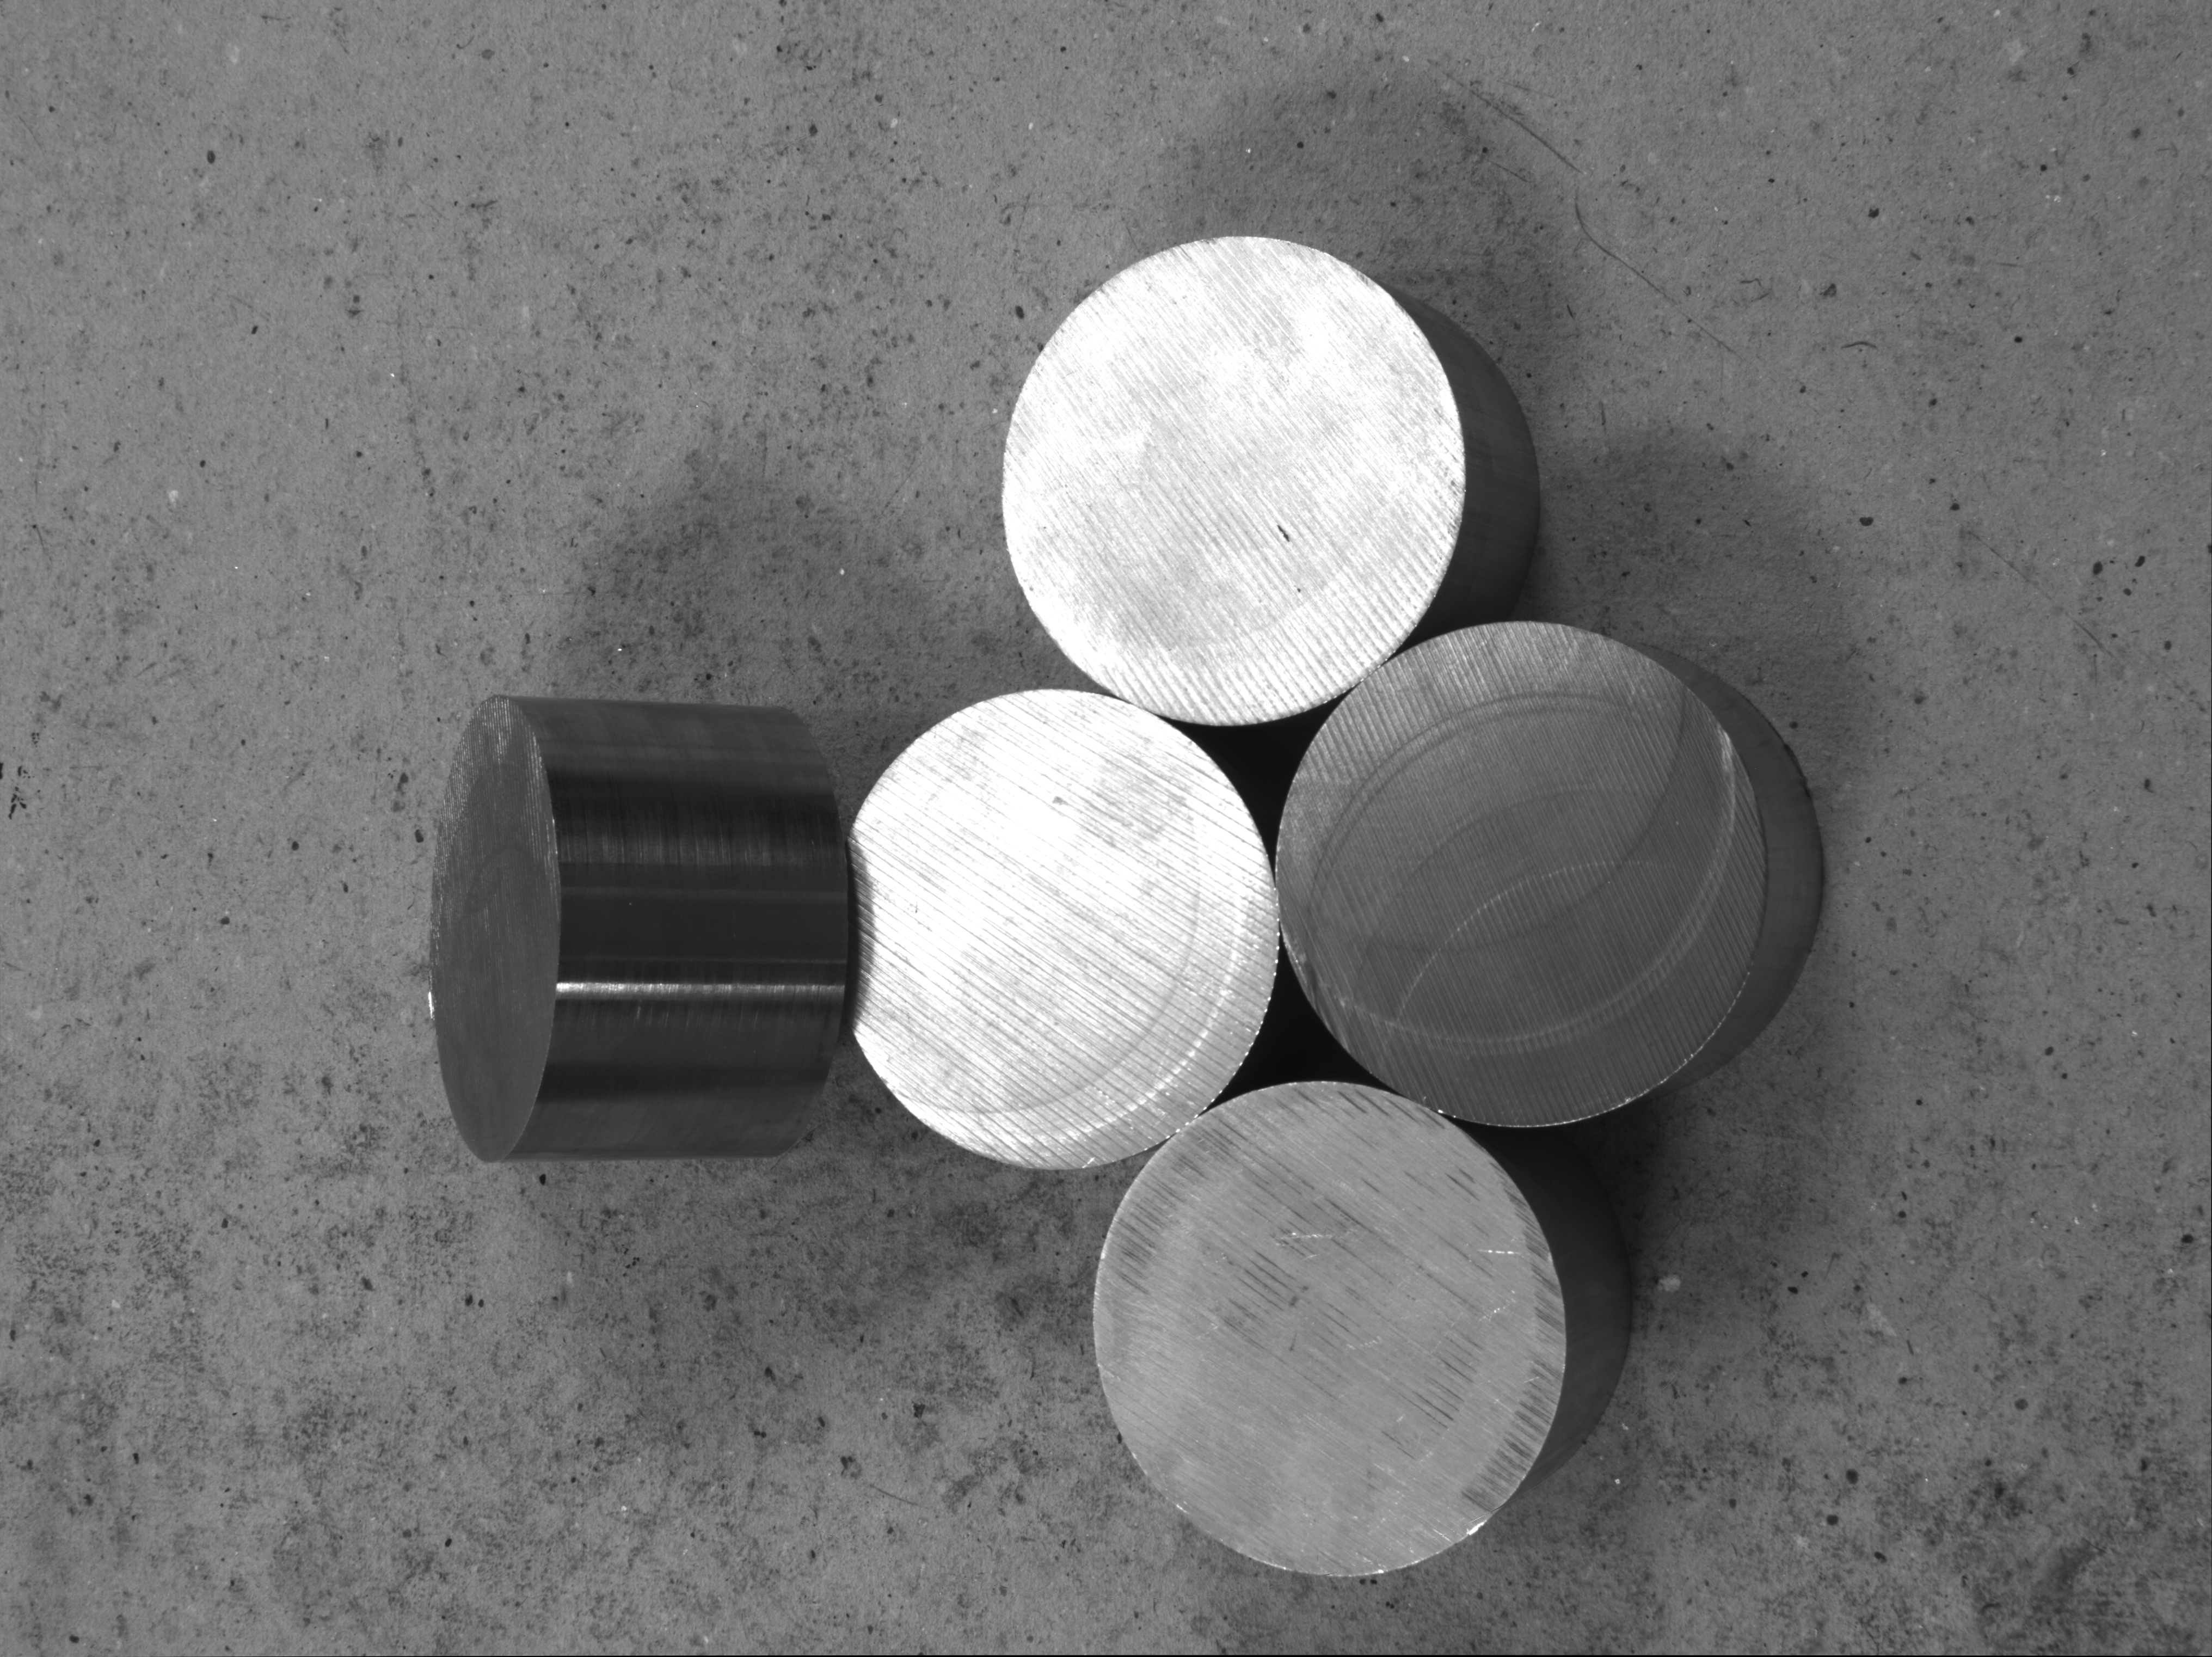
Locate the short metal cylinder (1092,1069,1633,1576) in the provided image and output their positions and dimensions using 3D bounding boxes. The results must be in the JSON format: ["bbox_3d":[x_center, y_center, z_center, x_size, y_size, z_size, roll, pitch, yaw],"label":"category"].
[{"bbox_3d":[0.044,0.081,0.617,0.080,0.050,0.080,0,90,20],"label":"short metal cylinder"}]

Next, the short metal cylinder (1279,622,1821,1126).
[{"bbox_3d":[0.074,0.007,0.606,0.080,0.050,0.080,0,90,20],"label":"short metal cylinder"}]

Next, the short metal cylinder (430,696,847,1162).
[{"bbox_3d":[-0.083,0.018,0.641,0.080,0.050,0.080,-179,90,-65],"label":"short metal cylinder"}]

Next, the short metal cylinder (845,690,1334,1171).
[{"bbox_3d":[-0.001,0.017,0.633,0.080,0.050,0.080,0,90,20],"label":"short metal cylinder"}]

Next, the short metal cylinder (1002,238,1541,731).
[{"bbox_3d":[0.029,-0.056,0.623,0.080,0.050,0.080,0,90,20],"label":"short metal cylinder"}]
